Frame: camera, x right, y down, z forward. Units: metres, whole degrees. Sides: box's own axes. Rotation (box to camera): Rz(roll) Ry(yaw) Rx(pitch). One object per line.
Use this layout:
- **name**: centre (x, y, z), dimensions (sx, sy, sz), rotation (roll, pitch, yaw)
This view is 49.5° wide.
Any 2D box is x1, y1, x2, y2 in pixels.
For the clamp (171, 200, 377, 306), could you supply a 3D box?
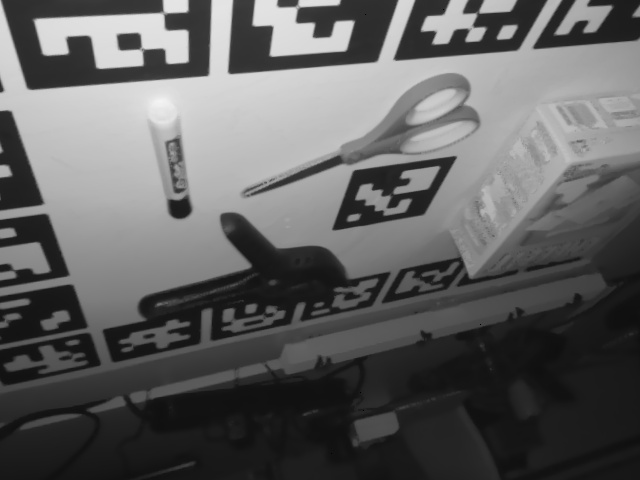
- **clamp**: centre (-0.022, 0.025, 0.694), dimensions (0.206, 0.037, 0.162), rotation (8, 143, -39)

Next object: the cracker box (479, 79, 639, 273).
- **cracker box**: centre (0.267, -0.057, 0.660), dimensions (0.166, 0.072, 0.211), rotation (-10, 150, -15)

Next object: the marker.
- **marker**: centre (-0.092, -0.053, 0.507), dimensions (0.020, 0.020, 0.120), rotation (-13, 151, -10)

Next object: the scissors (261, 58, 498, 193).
- **scissors**: centre (0.045, -0.077, 0.547), dimensions (0.201, 0.016, 0.088), rotation (-23, 152, 13)
